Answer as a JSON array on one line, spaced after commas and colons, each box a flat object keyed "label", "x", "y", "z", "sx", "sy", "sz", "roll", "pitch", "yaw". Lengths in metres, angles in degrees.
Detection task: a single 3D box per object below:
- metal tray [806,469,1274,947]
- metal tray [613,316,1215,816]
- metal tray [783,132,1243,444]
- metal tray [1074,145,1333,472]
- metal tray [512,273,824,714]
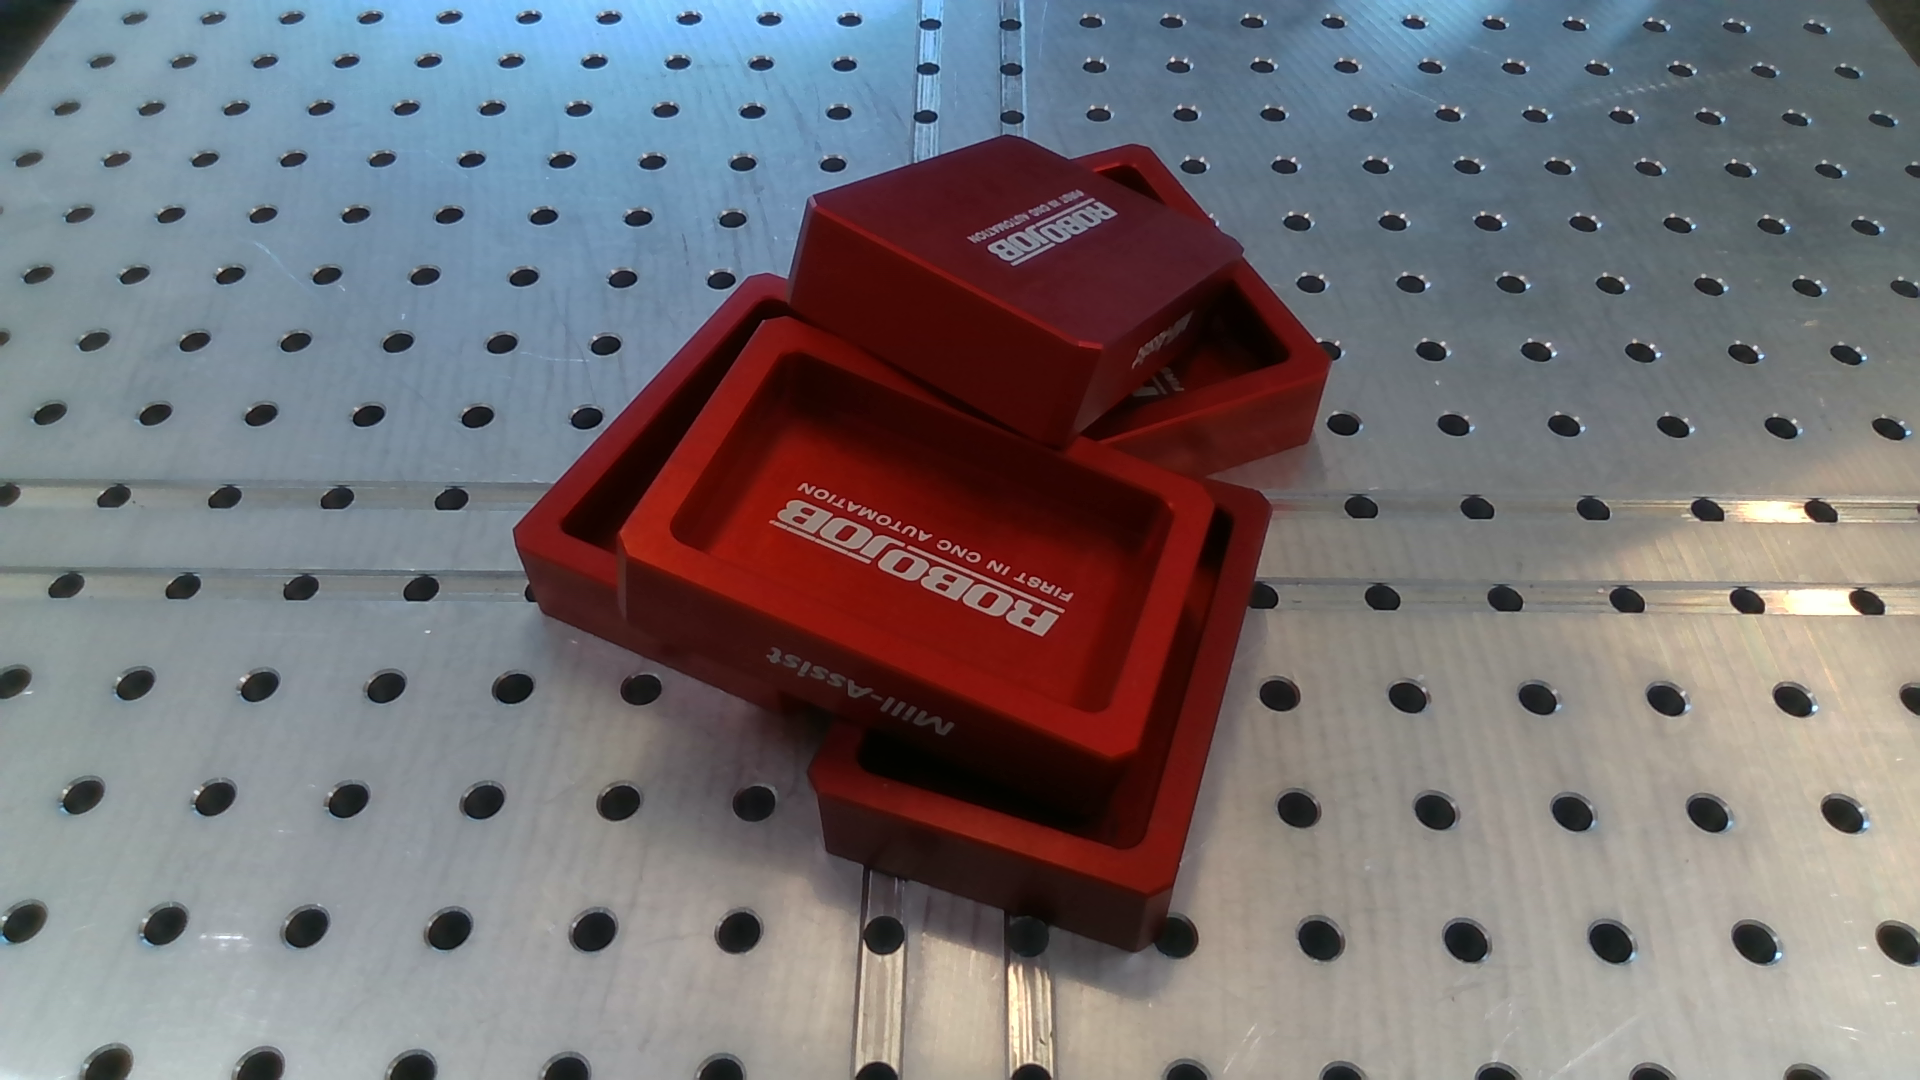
[{"label": "metal tray", "x": 0.025, "y": 0.032, "z": 0.366, "sx": 0.090, "sy": 0.030, "sz": 0.130, "roll": 15, "pitch": 51, "yaw": 12}, {"label": "metal tray", "x": -0.010, "y": 0.003, "z": 0.350, "sx": 0.130, "sy": 0.030, "sz": 0.090, "roll": 23, "pitch": 53, "yaw": 3}, {"label": "metal tray", "x": 0.021, "y": -0.080, "z": 0.408, "sx": 0.090, "sy": 0.030, "sz": 0.130, "roll": 30, "pitch": 34, "yaw": 14}, {"label": "metal tray", "x": 0.050, "y": -0.075, "z": 0.456, "sx": 0.090, "sy": 0.030, "sz": 0.130, "roll": -18, "pitch": 52, "yaw": -14}, {"label": "metal tray", "x": -0.056, "y": -0.020, "z": 0.410, "sx": 0.090, "sy": 0.030, "sz": 0.130, "roll": 21, "pitch": 53, "yaw": 16}]
